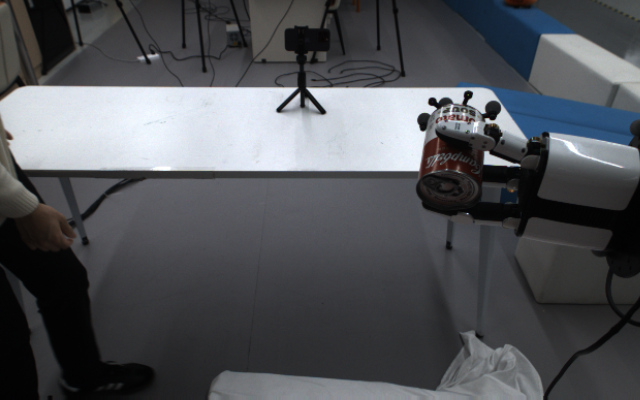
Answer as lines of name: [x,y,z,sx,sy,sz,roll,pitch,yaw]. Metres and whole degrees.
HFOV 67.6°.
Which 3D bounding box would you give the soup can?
soup can: [0.148,-0.050,0.538,0.067,0.067,0.101,9,56,10]
